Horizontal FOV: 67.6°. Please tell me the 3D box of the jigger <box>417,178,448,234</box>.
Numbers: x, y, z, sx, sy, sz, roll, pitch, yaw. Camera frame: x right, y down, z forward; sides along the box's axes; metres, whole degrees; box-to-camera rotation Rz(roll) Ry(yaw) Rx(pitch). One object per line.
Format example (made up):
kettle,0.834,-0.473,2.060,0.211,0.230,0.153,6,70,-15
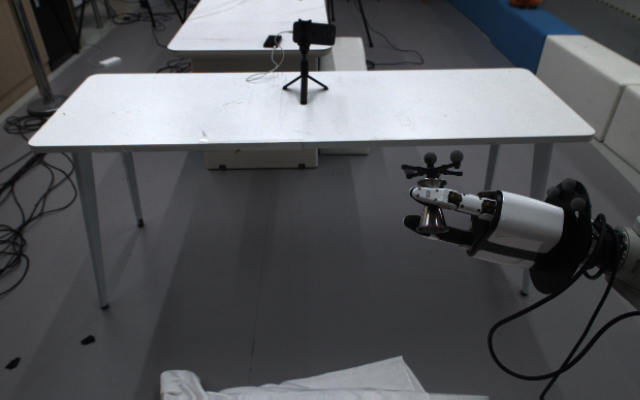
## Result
jigger,0.152,0.007,0.665,0.043,0.043,0.071,3,75,1
